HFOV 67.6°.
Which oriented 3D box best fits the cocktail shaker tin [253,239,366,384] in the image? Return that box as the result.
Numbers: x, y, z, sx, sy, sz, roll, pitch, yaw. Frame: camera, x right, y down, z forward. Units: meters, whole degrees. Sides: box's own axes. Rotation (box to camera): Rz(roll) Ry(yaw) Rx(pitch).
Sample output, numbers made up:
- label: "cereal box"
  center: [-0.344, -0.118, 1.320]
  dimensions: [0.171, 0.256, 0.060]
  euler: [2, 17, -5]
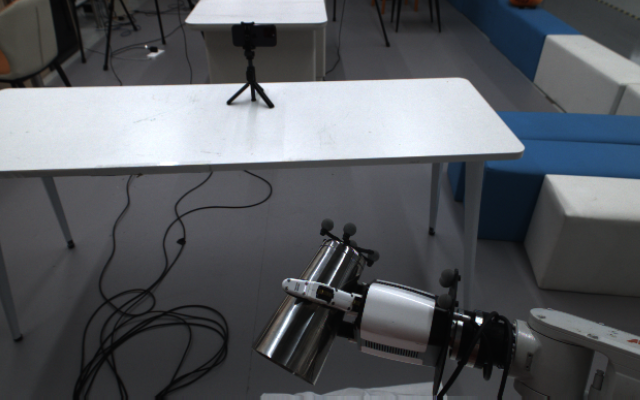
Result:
- label: "cocktail shaker tin"
  center: [-0.006, 0.137, 0.634]
  dimensions: [0.093, 0.093, 0.170]
  euler: [20, 67, 24]
